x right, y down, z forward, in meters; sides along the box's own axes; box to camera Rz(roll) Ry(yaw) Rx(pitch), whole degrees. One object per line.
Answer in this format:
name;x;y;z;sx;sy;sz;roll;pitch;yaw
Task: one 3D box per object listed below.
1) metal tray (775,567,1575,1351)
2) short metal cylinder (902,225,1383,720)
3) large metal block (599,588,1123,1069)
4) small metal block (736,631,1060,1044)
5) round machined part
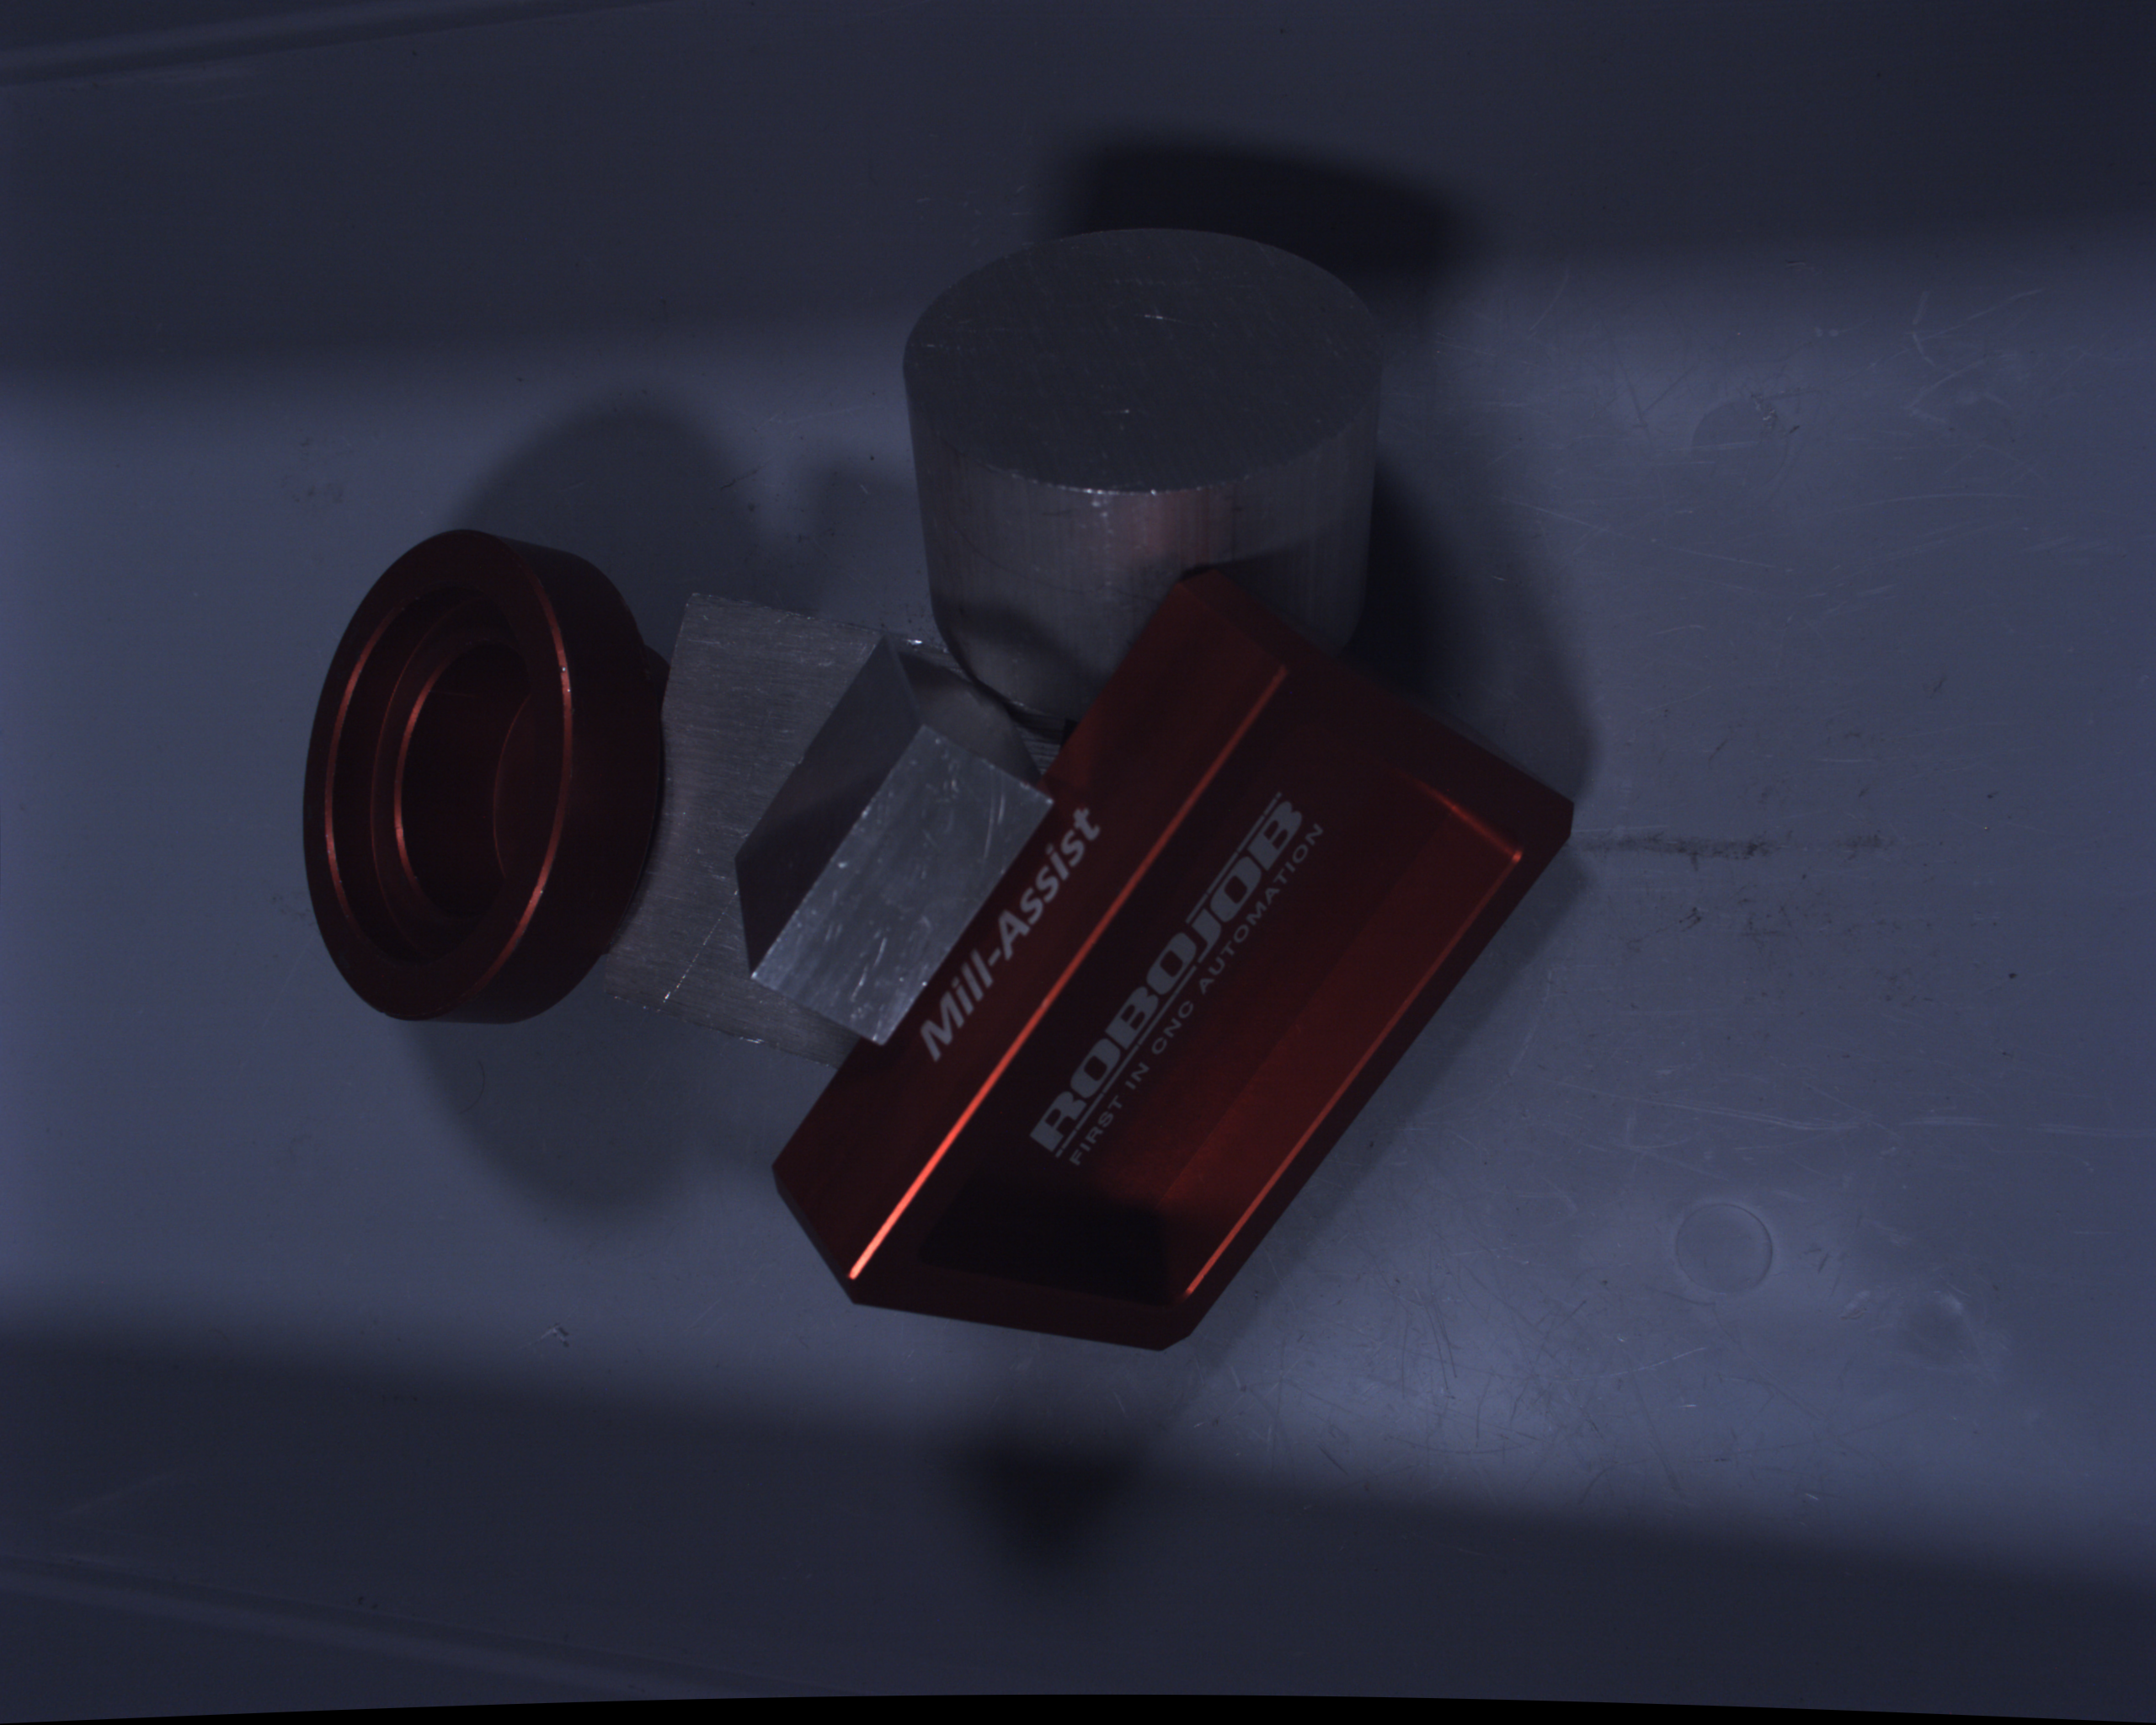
metal tray;0.019;0.023;0.366;0.129;0.090;0.030;-55;47;11
short metal cylinder;0.012;-0.069;0.368;0.080;0.080;0.050;17;140;19
large metal block;-0.037;-0.003;0.408;0.080;0.050;0.079;16;95;19
small metal block;-0.032;-0.006;0.351;0.025;0.050;0.050;31;103;-22
round machined part;-0.114;-0.016;0.426;0.098;0.042;0.097;-6;81;42
